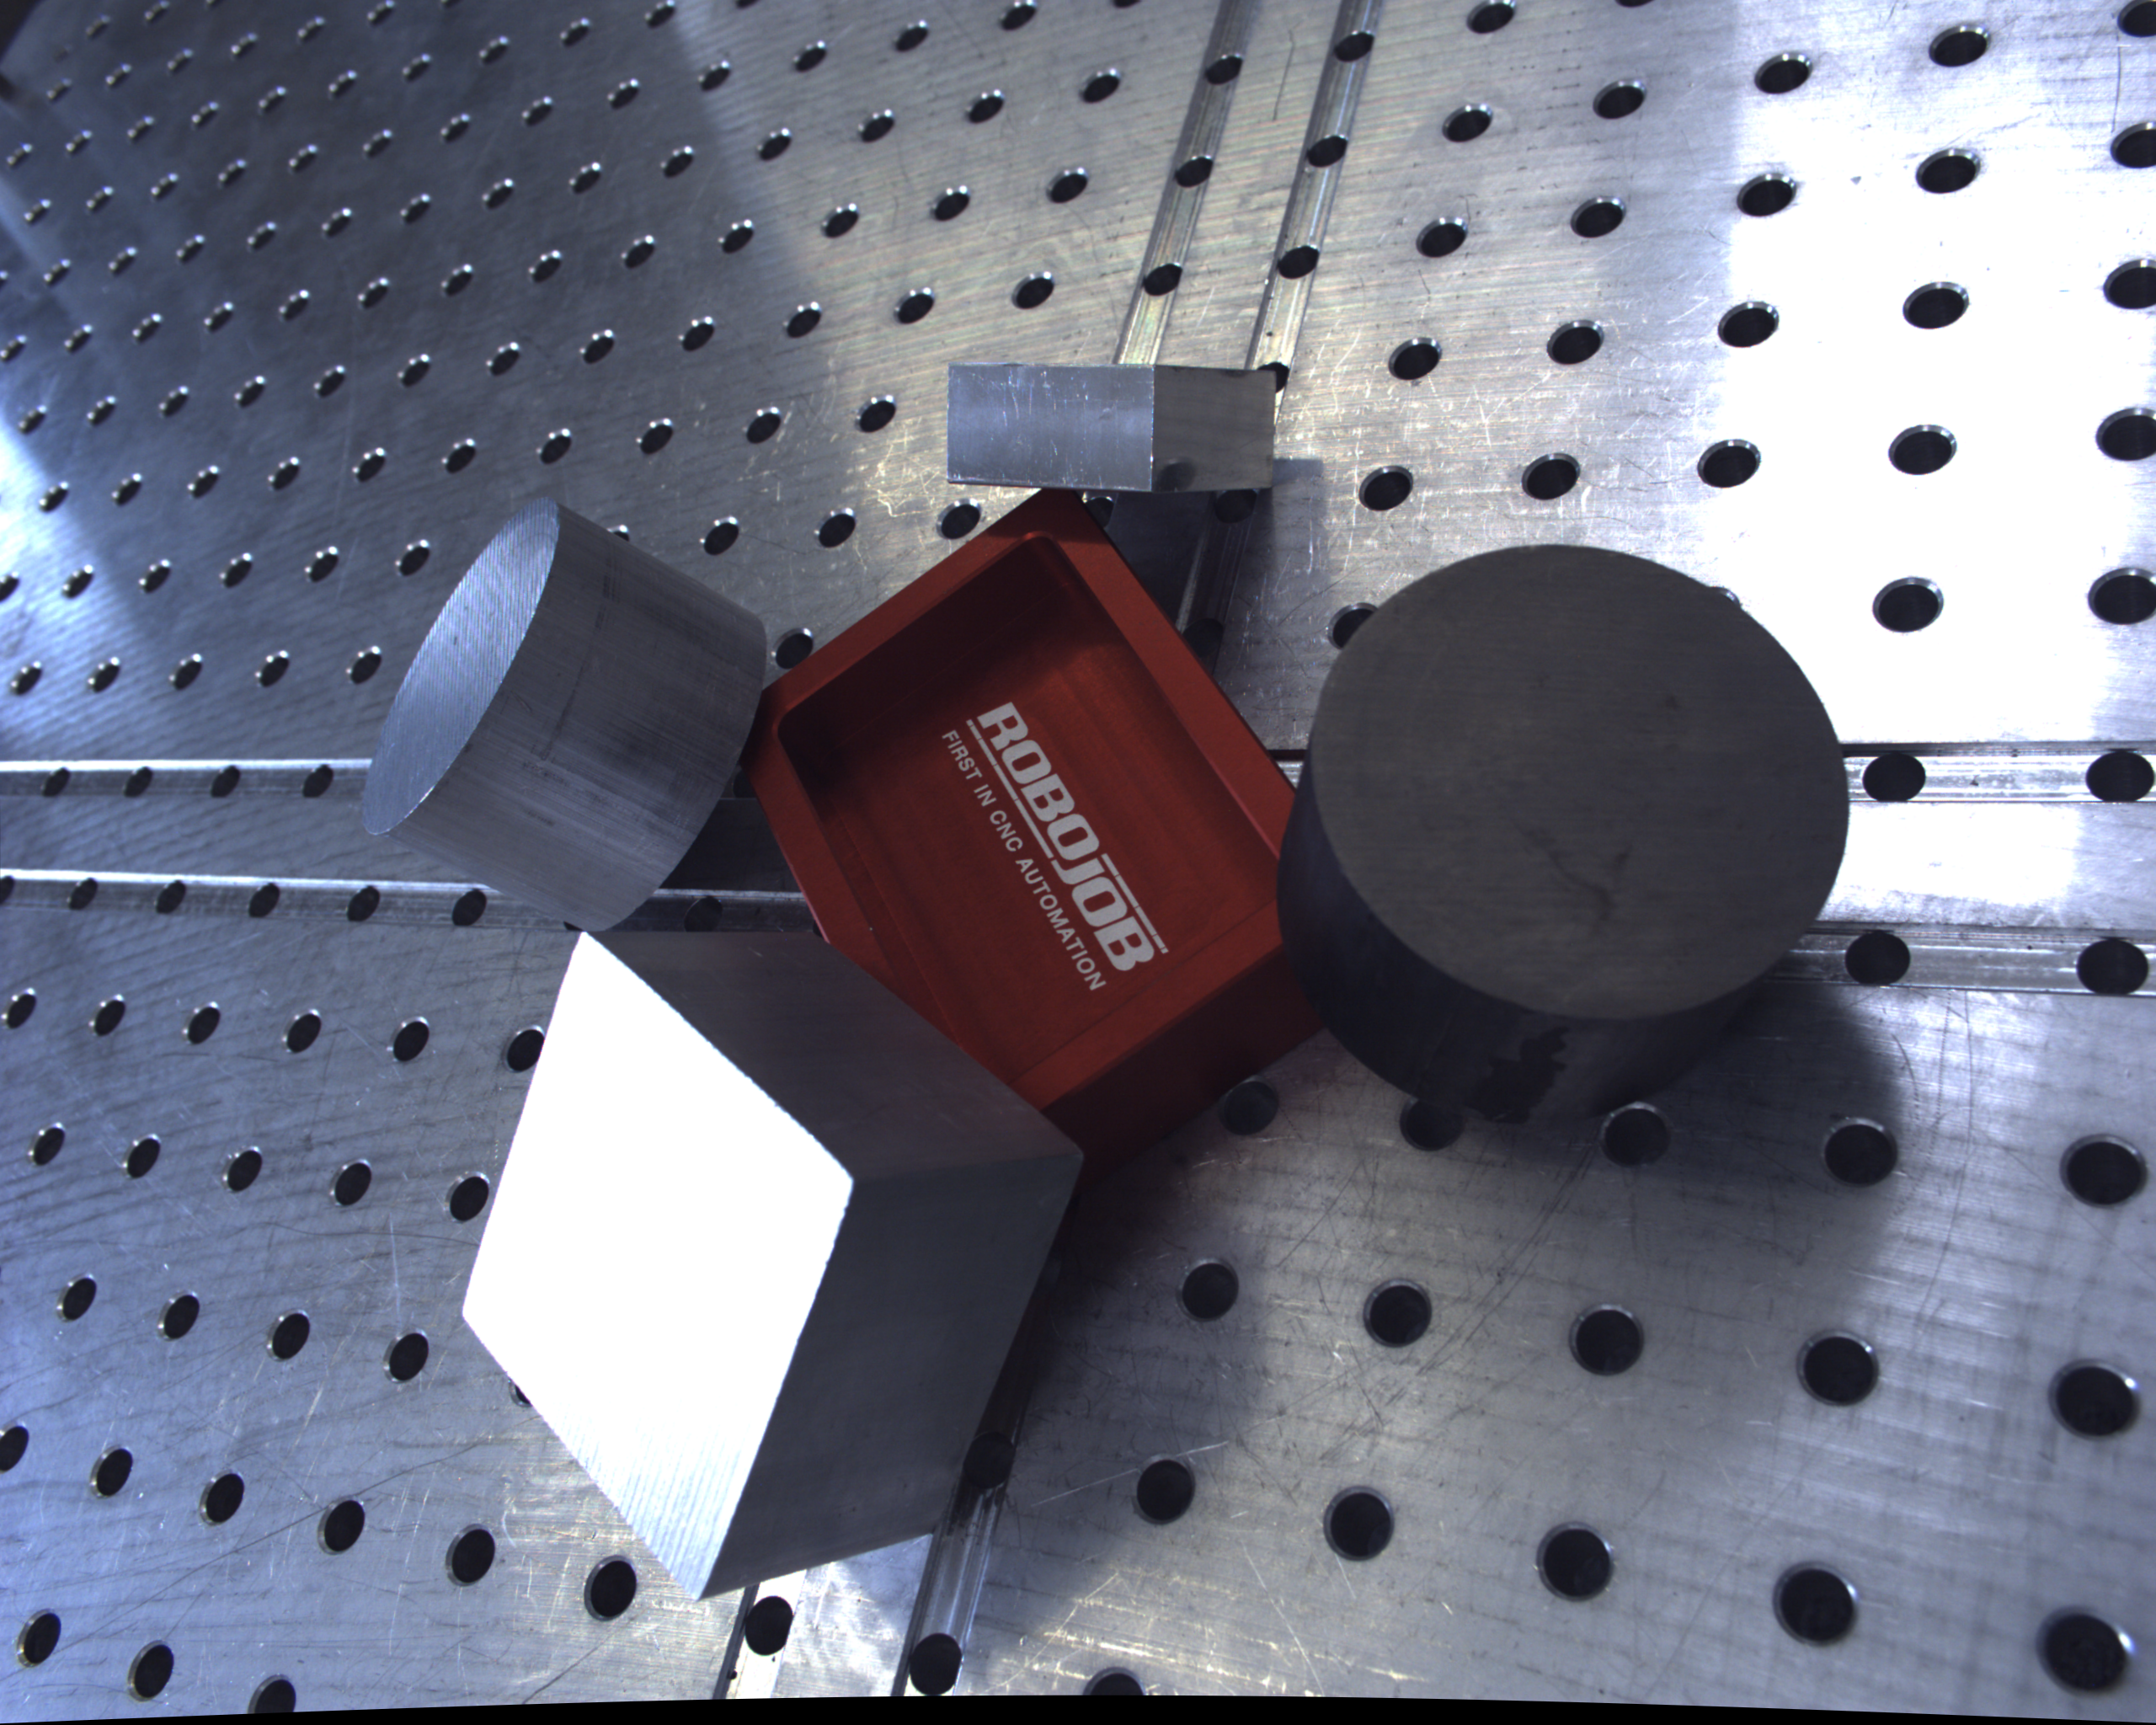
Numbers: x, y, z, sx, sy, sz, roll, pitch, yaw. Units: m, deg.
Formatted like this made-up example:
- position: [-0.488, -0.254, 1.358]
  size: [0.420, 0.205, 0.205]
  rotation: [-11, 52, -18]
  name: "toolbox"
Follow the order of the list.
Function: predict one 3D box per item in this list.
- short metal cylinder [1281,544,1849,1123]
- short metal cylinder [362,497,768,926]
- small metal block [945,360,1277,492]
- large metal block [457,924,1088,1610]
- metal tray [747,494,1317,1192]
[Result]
- position: [0.075, -0.004, 0.335]
  size: [0.081, 0.050, 0.080]
  rotation: [1, 65, -1]
  name: "short metal cylinder"
- position: [-0.111, -0.031, 0.451]
  size: [0.080, 0.050, 0.080]
  rotation: [-36, 38, 35]
  name: "short metal cylinder"
- position: [0.007, -0.093, 0.442]
  size: [0.050, 0.050, 0.025]
  rotation: [10, 104, 32]
  name: "small metal block"
- position: [-0.055, 0.065, 0.359]
  size: [0.080, 0.050, 0.079]
  rotation: [35, 112, 38]
  name: "large metal block"
- position: [-0.007, -0.007, 0.412]
  size: [0.090, 0.030, 0.130]
  rotation: [-35, 51, 4]
  name: "metal tray"
